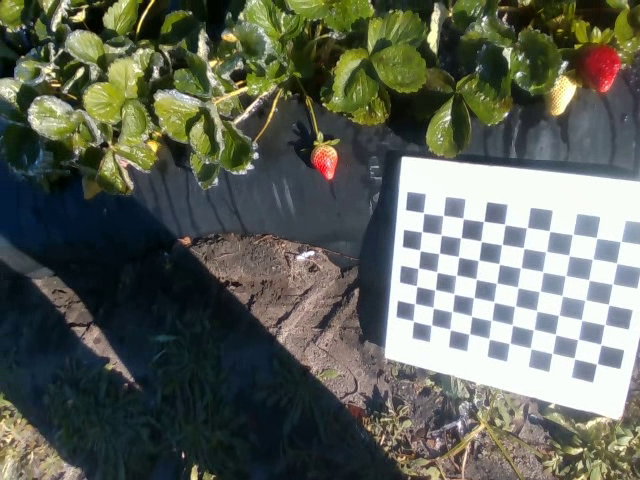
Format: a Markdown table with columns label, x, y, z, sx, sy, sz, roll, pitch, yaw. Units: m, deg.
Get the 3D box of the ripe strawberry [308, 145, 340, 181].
| label | x | y | z | sx | sy | sz | roll | pitch | yaw |
| --- | --- | --- | --- | --- | --- | --- | --- | --- | --- |
| ripe strawberry | 0.009 | -0.100 | 0.803 | 0.039 | 0.053 | 0.041 | -14 | -10 | 29 |
